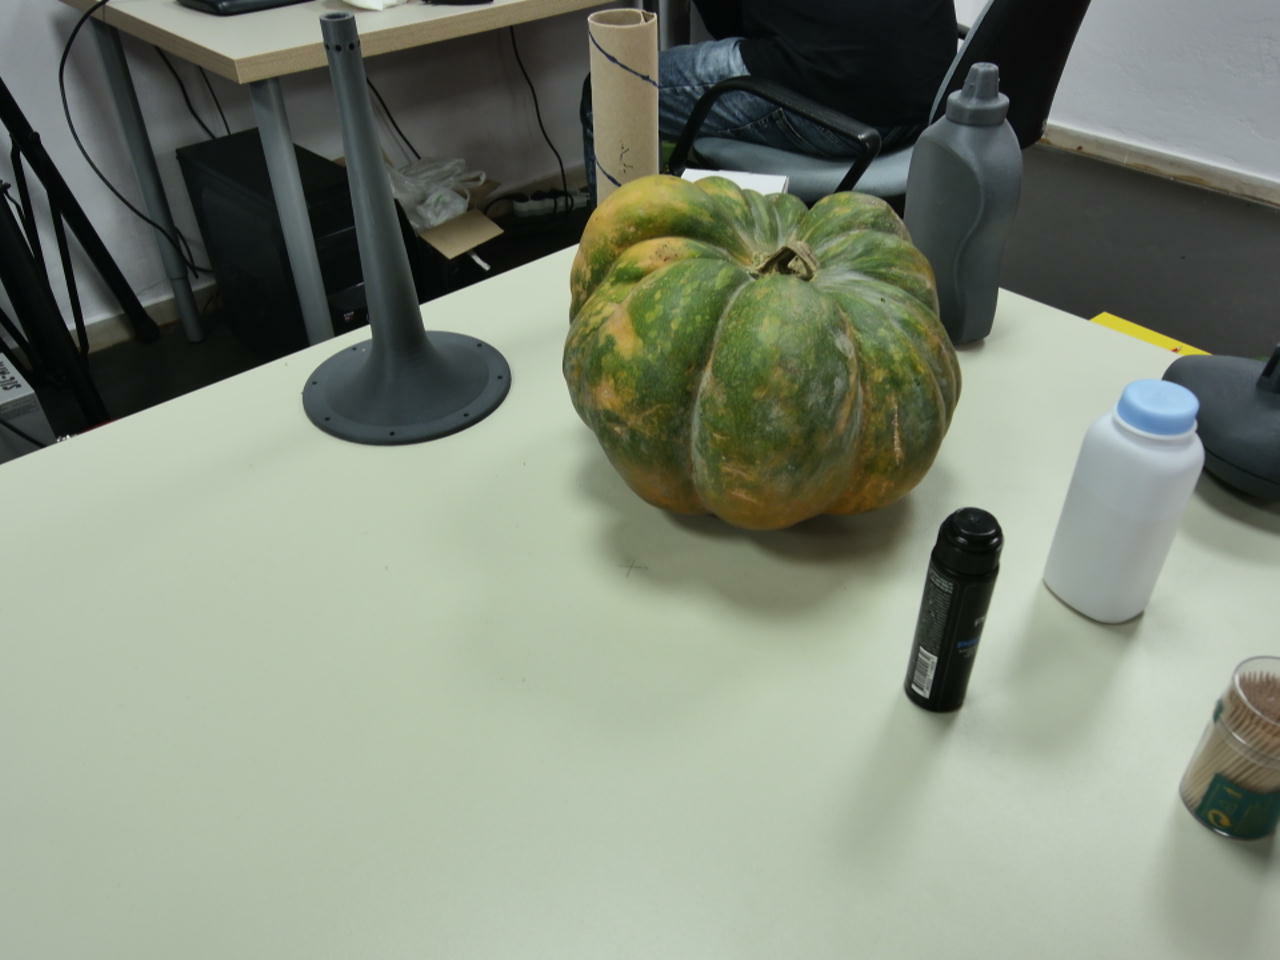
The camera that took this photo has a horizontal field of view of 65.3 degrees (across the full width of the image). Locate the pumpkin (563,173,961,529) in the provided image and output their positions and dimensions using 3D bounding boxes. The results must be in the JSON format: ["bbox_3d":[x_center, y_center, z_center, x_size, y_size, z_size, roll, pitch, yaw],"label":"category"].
[{"bbox_3d":[0.073,-0.083,0.606,0.237,0.173,0.270,-2,37,-3],"label":"pumpkin"}]
